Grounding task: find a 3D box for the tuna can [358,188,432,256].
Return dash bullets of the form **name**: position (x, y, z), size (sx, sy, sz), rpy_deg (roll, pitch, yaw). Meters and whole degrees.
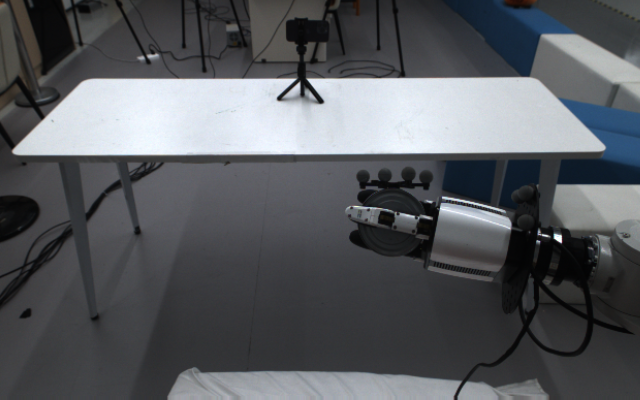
- **tuna can**: position (0.093, 0.027, 0.612), size (0.085, 0.085, 0.034), rpy_deg (13, -3, 16)
